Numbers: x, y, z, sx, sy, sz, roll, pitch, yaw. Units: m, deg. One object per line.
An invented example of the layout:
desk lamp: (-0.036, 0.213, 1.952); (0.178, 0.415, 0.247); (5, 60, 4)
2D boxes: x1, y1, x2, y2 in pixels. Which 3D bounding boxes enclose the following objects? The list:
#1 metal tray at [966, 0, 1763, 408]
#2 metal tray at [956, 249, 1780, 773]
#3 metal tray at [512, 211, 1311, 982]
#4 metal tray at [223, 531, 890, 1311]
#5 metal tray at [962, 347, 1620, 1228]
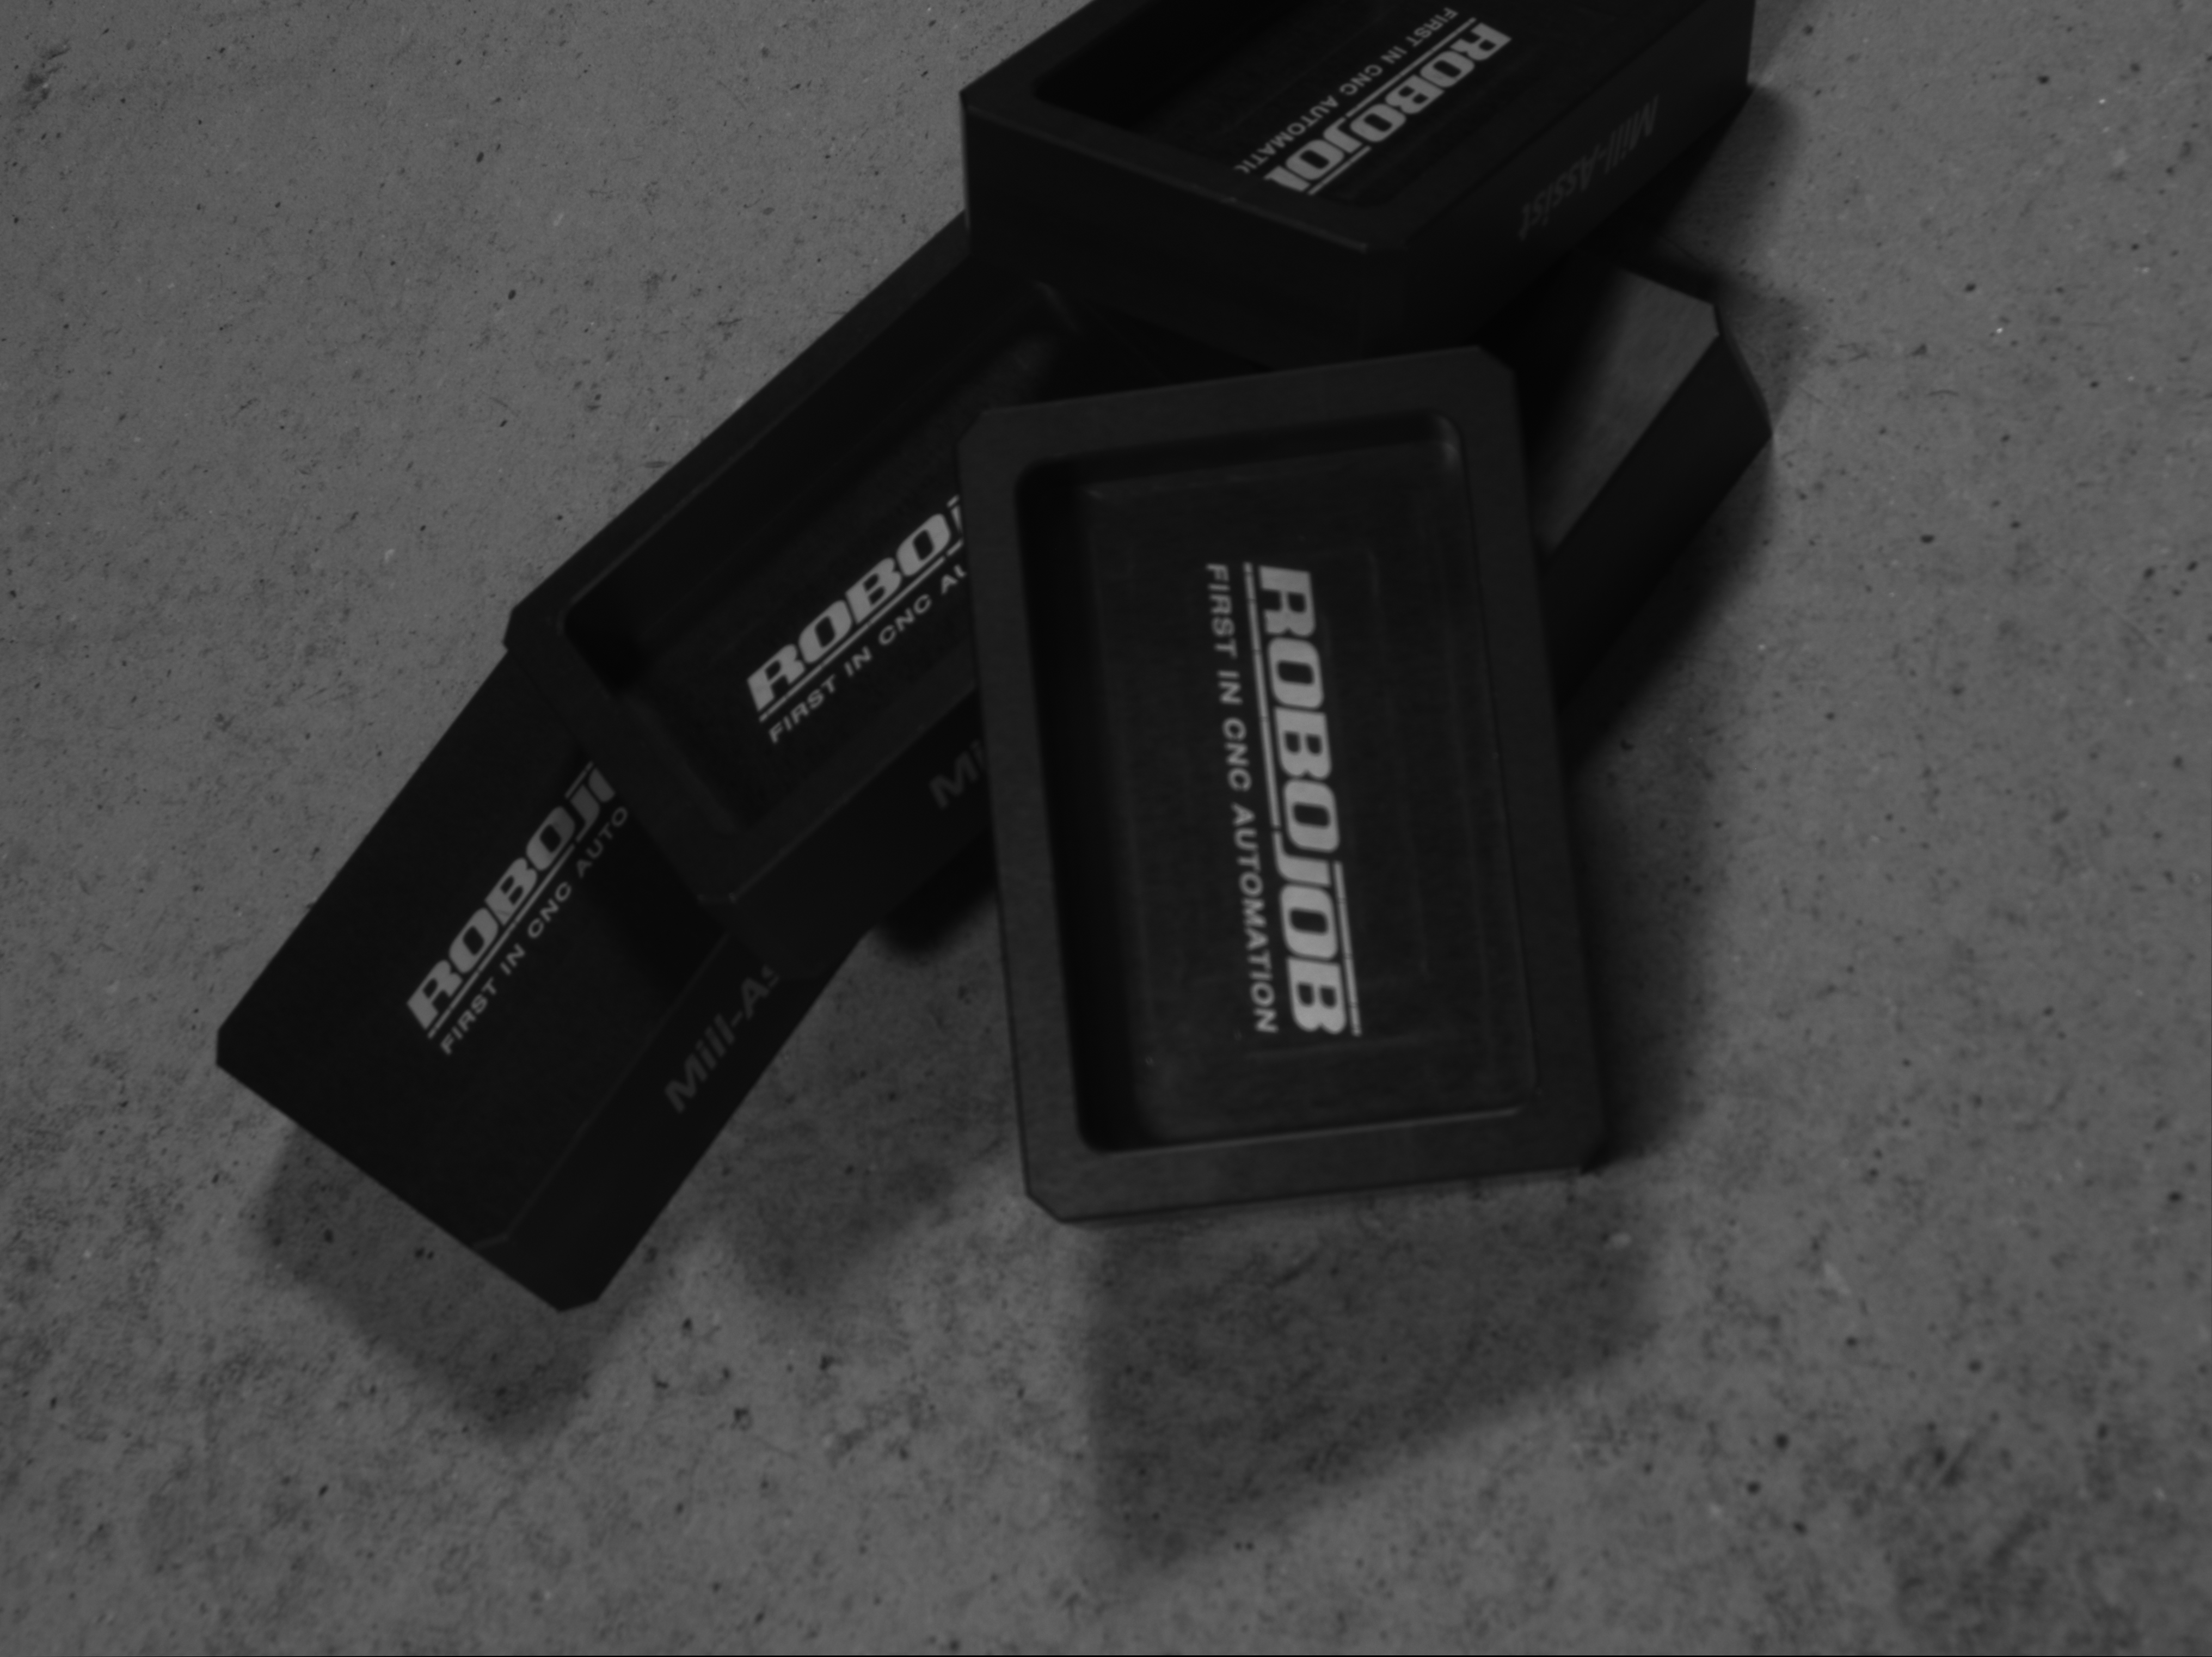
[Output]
metal tray: (0.048, -0.130, 0.651); (0.090, 0.030, 0.130); (25, 47, 27)
metal tray: (0.044, -0.071, 0.661); (0.130, 0.030, 0.090); (30, 78, 38)
metal tray: (-0.032, -0.046, 0.649); (0.130, 0.030, 0.090); (-41, 51, 0)
metal tray: (-0.094, 0.013, 0.683); (0.090, 0.030, 0.130); (27, 77, 37)
metal tray: (0.029, -0.005, 0.584); (0.090, 0.030, 0.130); (-7, 81, 6)
